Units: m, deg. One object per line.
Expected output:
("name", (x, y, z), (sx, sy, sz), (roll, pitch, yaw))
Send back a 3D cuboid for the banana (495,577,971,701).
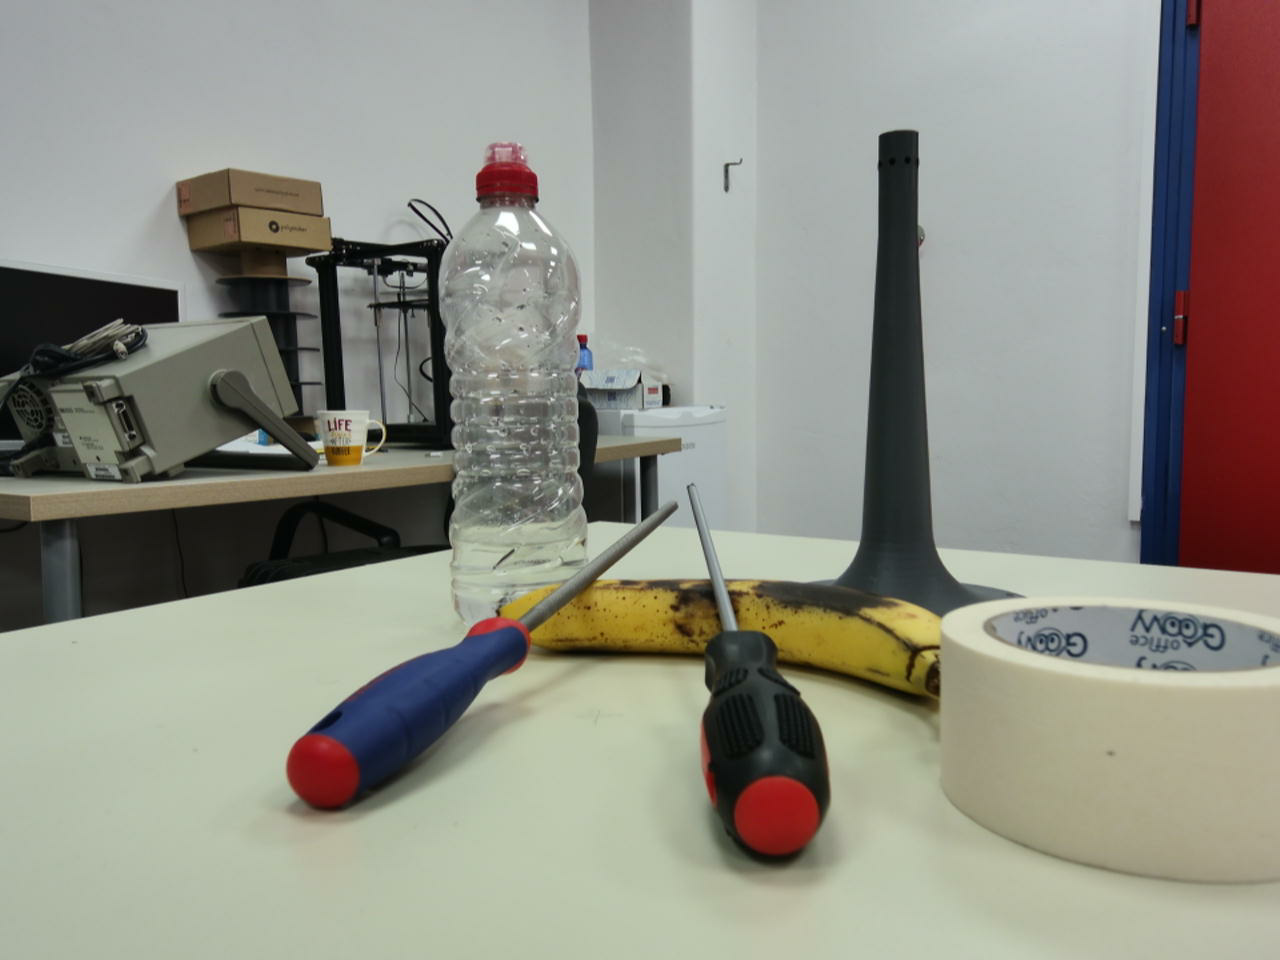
("banana", (0.043, 0.064, 0.435), (0.222, 0.037, 0.084), (3, 4, 38))
